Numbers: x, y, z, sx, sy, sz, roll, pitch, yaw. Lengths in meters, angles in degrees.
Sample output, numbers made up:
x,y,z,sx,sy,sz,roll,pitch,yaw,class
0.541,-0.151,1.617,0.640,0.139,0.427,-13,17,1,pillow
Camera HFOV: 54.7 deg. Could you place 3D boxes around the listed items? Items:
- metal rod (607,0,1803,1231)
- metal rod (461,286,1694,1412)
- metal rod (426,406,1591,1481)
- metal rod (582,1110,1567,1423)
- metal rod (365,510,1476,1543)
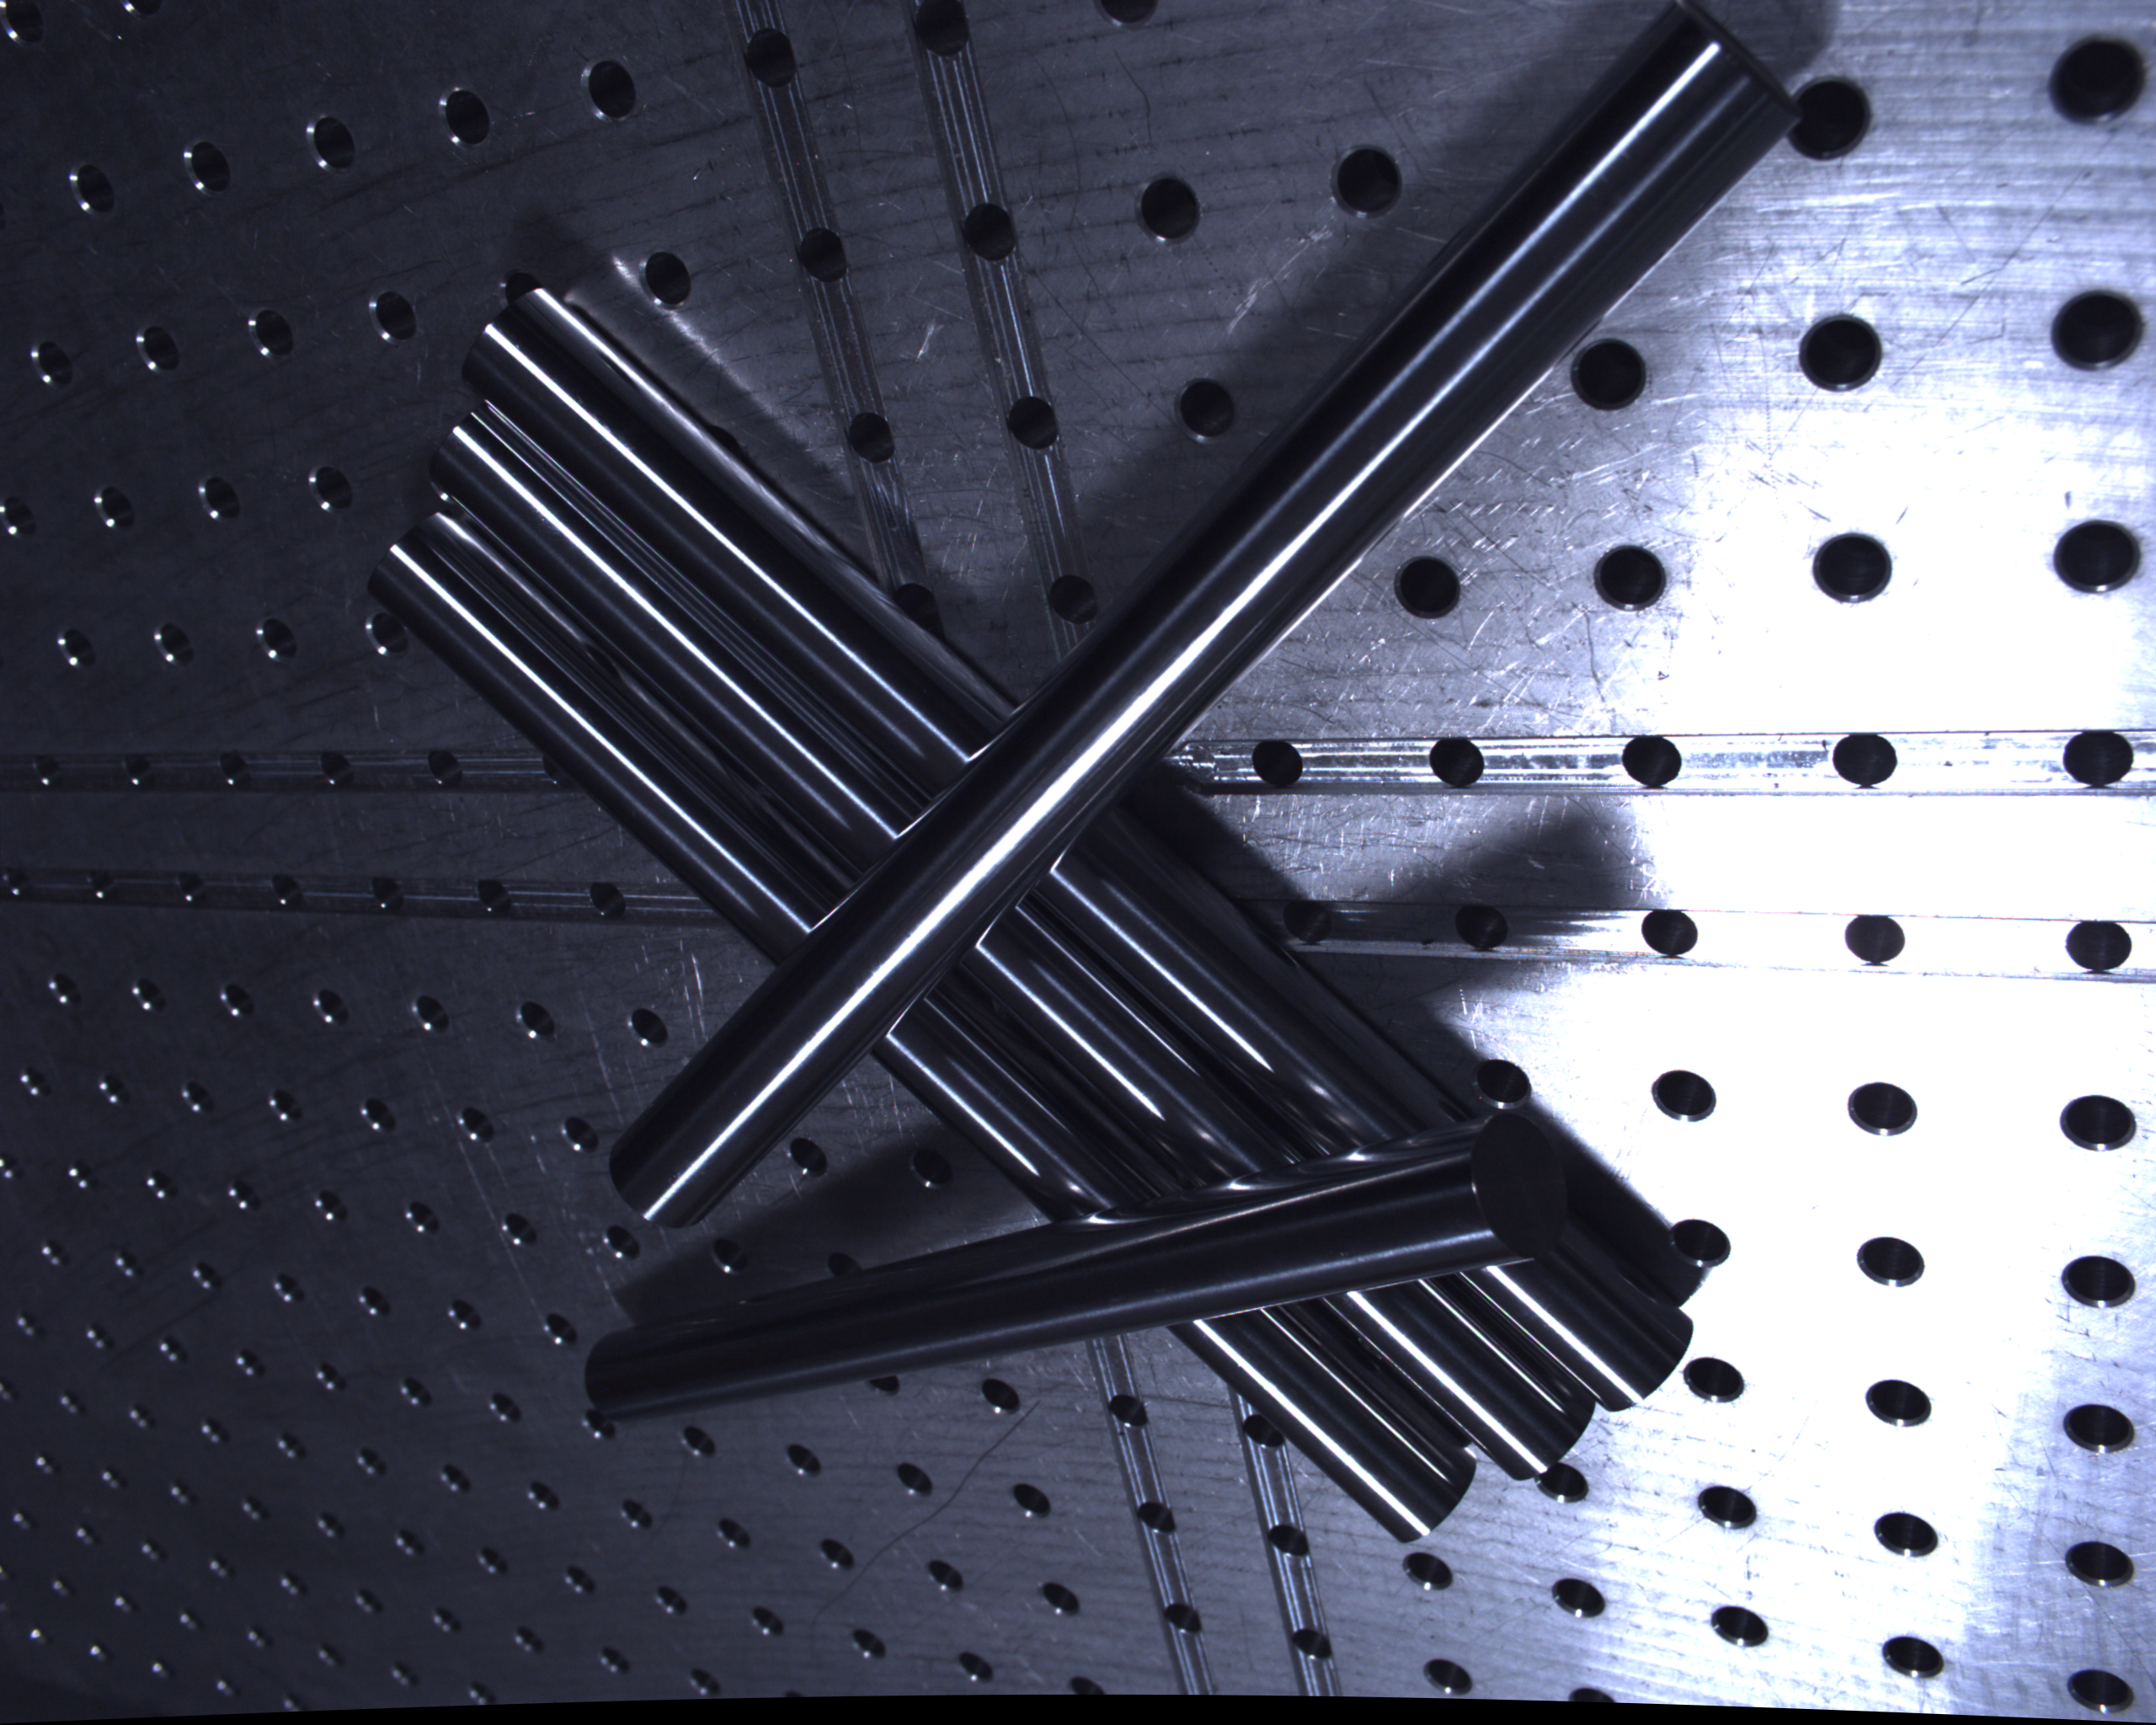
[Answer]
x,y,z,sx,sy,sz,roll,pitch,yaw,class
0.002,-0.023,0.368,0.025,0.025,0.299,44,121,-2,metal rod
0.001,-0.002,0.408,0.300,0.025,0.025,42,129,-2,metal rod
-0.012,0.016,0.426,0.300,0.025,0.025,43,129,-2,metal rod
-0.024,0.096,0.455,0.299,0.025,0.025,-23,106,45,metal rod
-0.032,0.036,0.449,0.300,0.025,0.025,43,129,-2,metal rod
